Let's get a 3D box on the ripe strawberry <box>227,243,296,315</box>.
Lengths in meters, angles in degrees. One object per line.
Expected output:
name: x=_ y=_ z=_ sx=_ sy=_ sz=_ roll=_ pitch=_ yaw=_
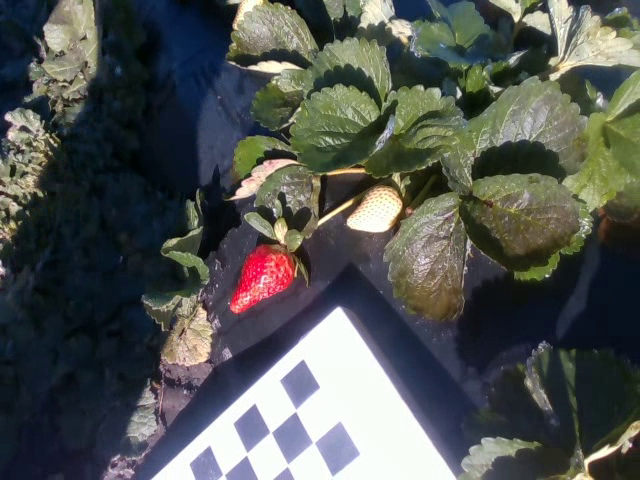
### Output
ripe strawberry: x=-0.045 y=0.030 z=0.439 sx=0.048 sy=0.068 sz=0.040 roll=34 pitch=-1 yaw=36
